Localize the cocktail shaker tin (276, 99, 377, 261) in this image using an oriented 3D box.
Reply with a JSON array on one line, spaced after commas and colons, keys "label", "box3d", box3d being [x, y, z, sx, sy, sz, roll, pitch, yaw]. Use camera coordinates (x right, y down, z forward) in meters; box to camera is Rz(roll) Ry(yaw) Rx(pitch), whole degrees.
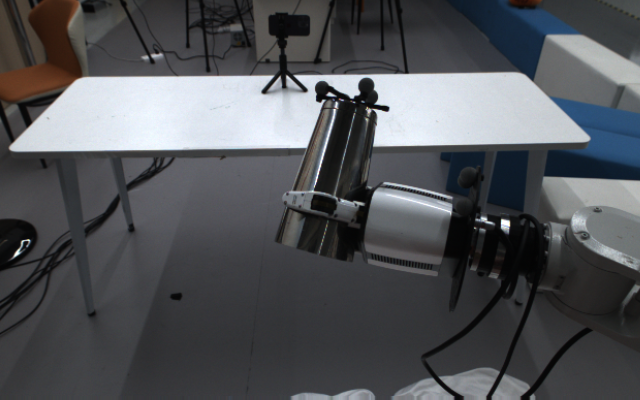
[{"label": "cocktail shaker tin", "box3d": [0.015, -0.023, 0.556, 0.093, 0.170, 0.093, 15, -4, 1]}]
